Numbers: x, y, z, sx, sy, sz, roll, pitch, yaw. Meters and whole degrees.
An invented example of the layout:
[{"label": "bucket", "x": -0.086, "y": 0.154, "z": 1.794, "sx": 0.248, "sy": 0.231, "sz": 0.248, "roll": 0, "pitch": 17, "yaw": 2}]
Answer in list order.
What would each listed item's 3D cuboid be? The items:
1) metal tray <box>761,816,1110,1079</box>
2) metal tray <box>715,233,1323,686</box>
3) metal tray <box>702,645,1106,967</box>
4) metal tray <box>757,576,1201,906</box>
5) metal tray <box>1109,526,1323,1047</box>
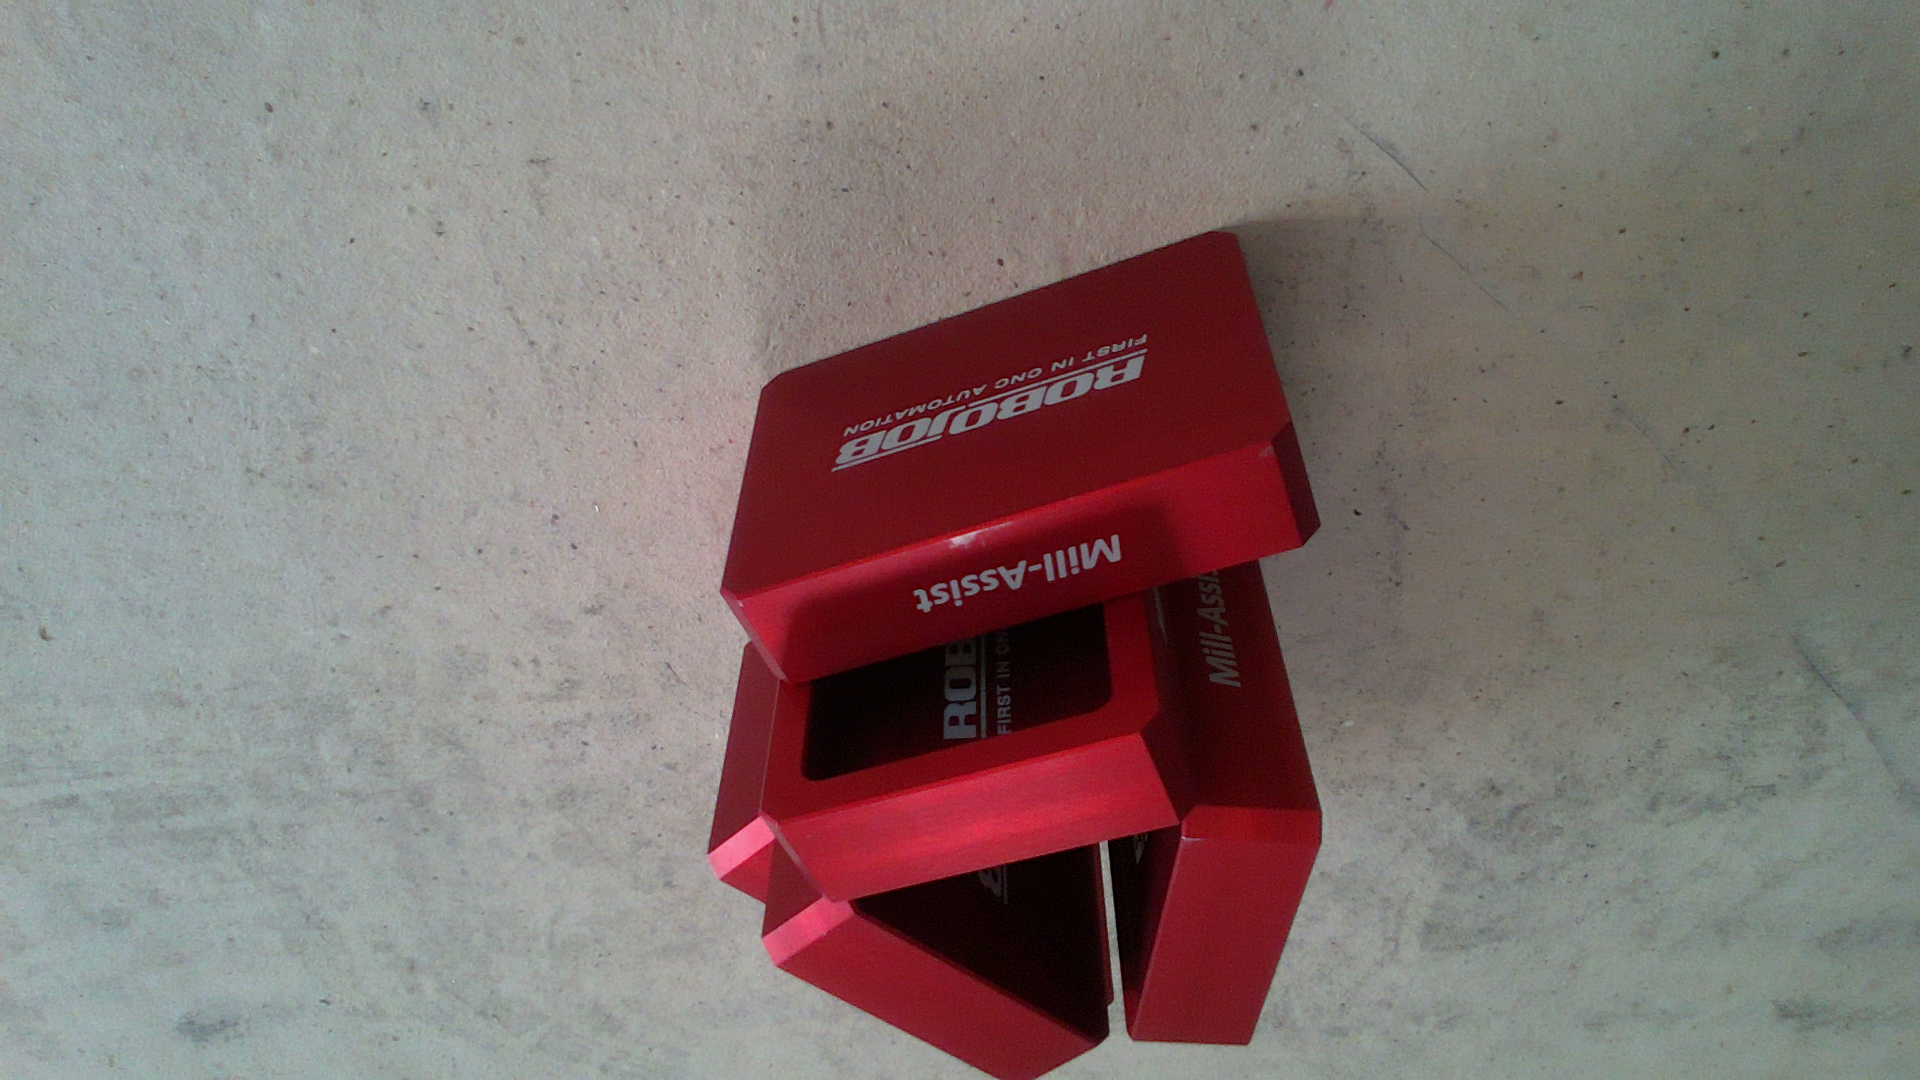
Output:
[{"label": "metal tray", "x": -0.004, "y": 0.071, "z": 0.382, "sx": 0.090, "sy": 0.130, "sz": 0.030, "roll": 36, "pitch": 121, "yaw": -26}, {"label": "metal tray", "x": 0.012, "y": -0.021, "z": 0.330, "sx": 0.130, "sy": 0.090, "sz": 0.030, "roll": -16, "pitch": 128, "yaw": 12}, {"label": "metal tray", "x": -0.012, "y": 0.086, "z": 0.420, "sx": 0.130, "sy": 0.090, "sz": 0.030, "roll": 36, "pitch": 122, "yaw": -27}, {"label": "metal tray", "x": 0.004, "y": 0.018, "z": 0.337, "sx": 0.090, "sy": 0.130, "sz": 0.030, "roll": -16, "pitch": 129, "yaw": 13}, {"label": "metal tray", "x": 0.060, "y": 0.054, "z": 0.367, "sx": 0.030, "sy": 0.130, "sz": 0.090, "roll": 4, "pitch": 130, "yaw": -3}]
